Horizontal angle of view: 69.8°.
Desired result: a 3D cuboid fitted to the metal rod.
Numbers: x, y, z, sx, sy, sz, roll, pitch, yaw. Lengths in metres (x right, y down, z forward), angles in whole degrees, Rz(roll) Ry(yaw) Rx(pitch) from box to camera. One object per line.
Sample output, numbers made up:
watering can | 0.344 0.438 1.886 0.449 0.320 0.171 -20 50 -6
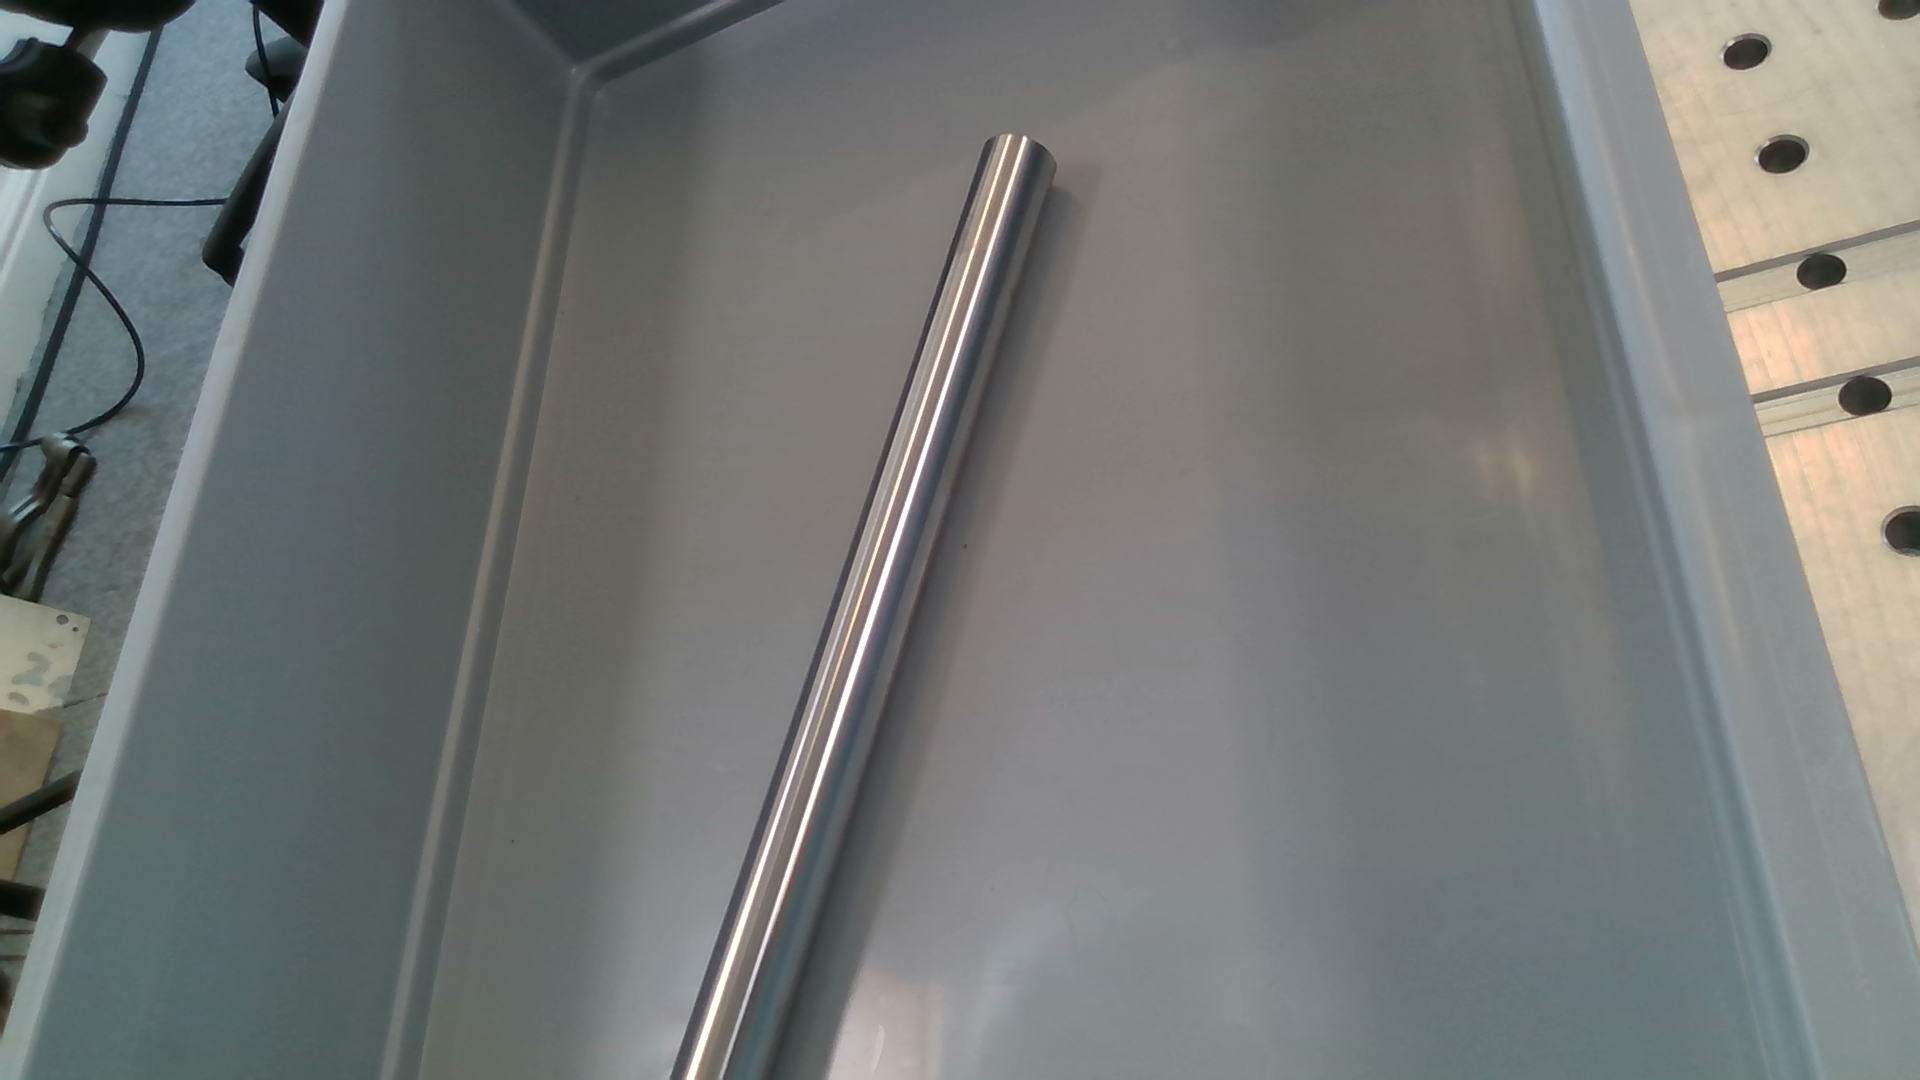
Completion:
metal rod | -0.023 0.012 0.399 0.025 0.025 0.299 5 68 33
